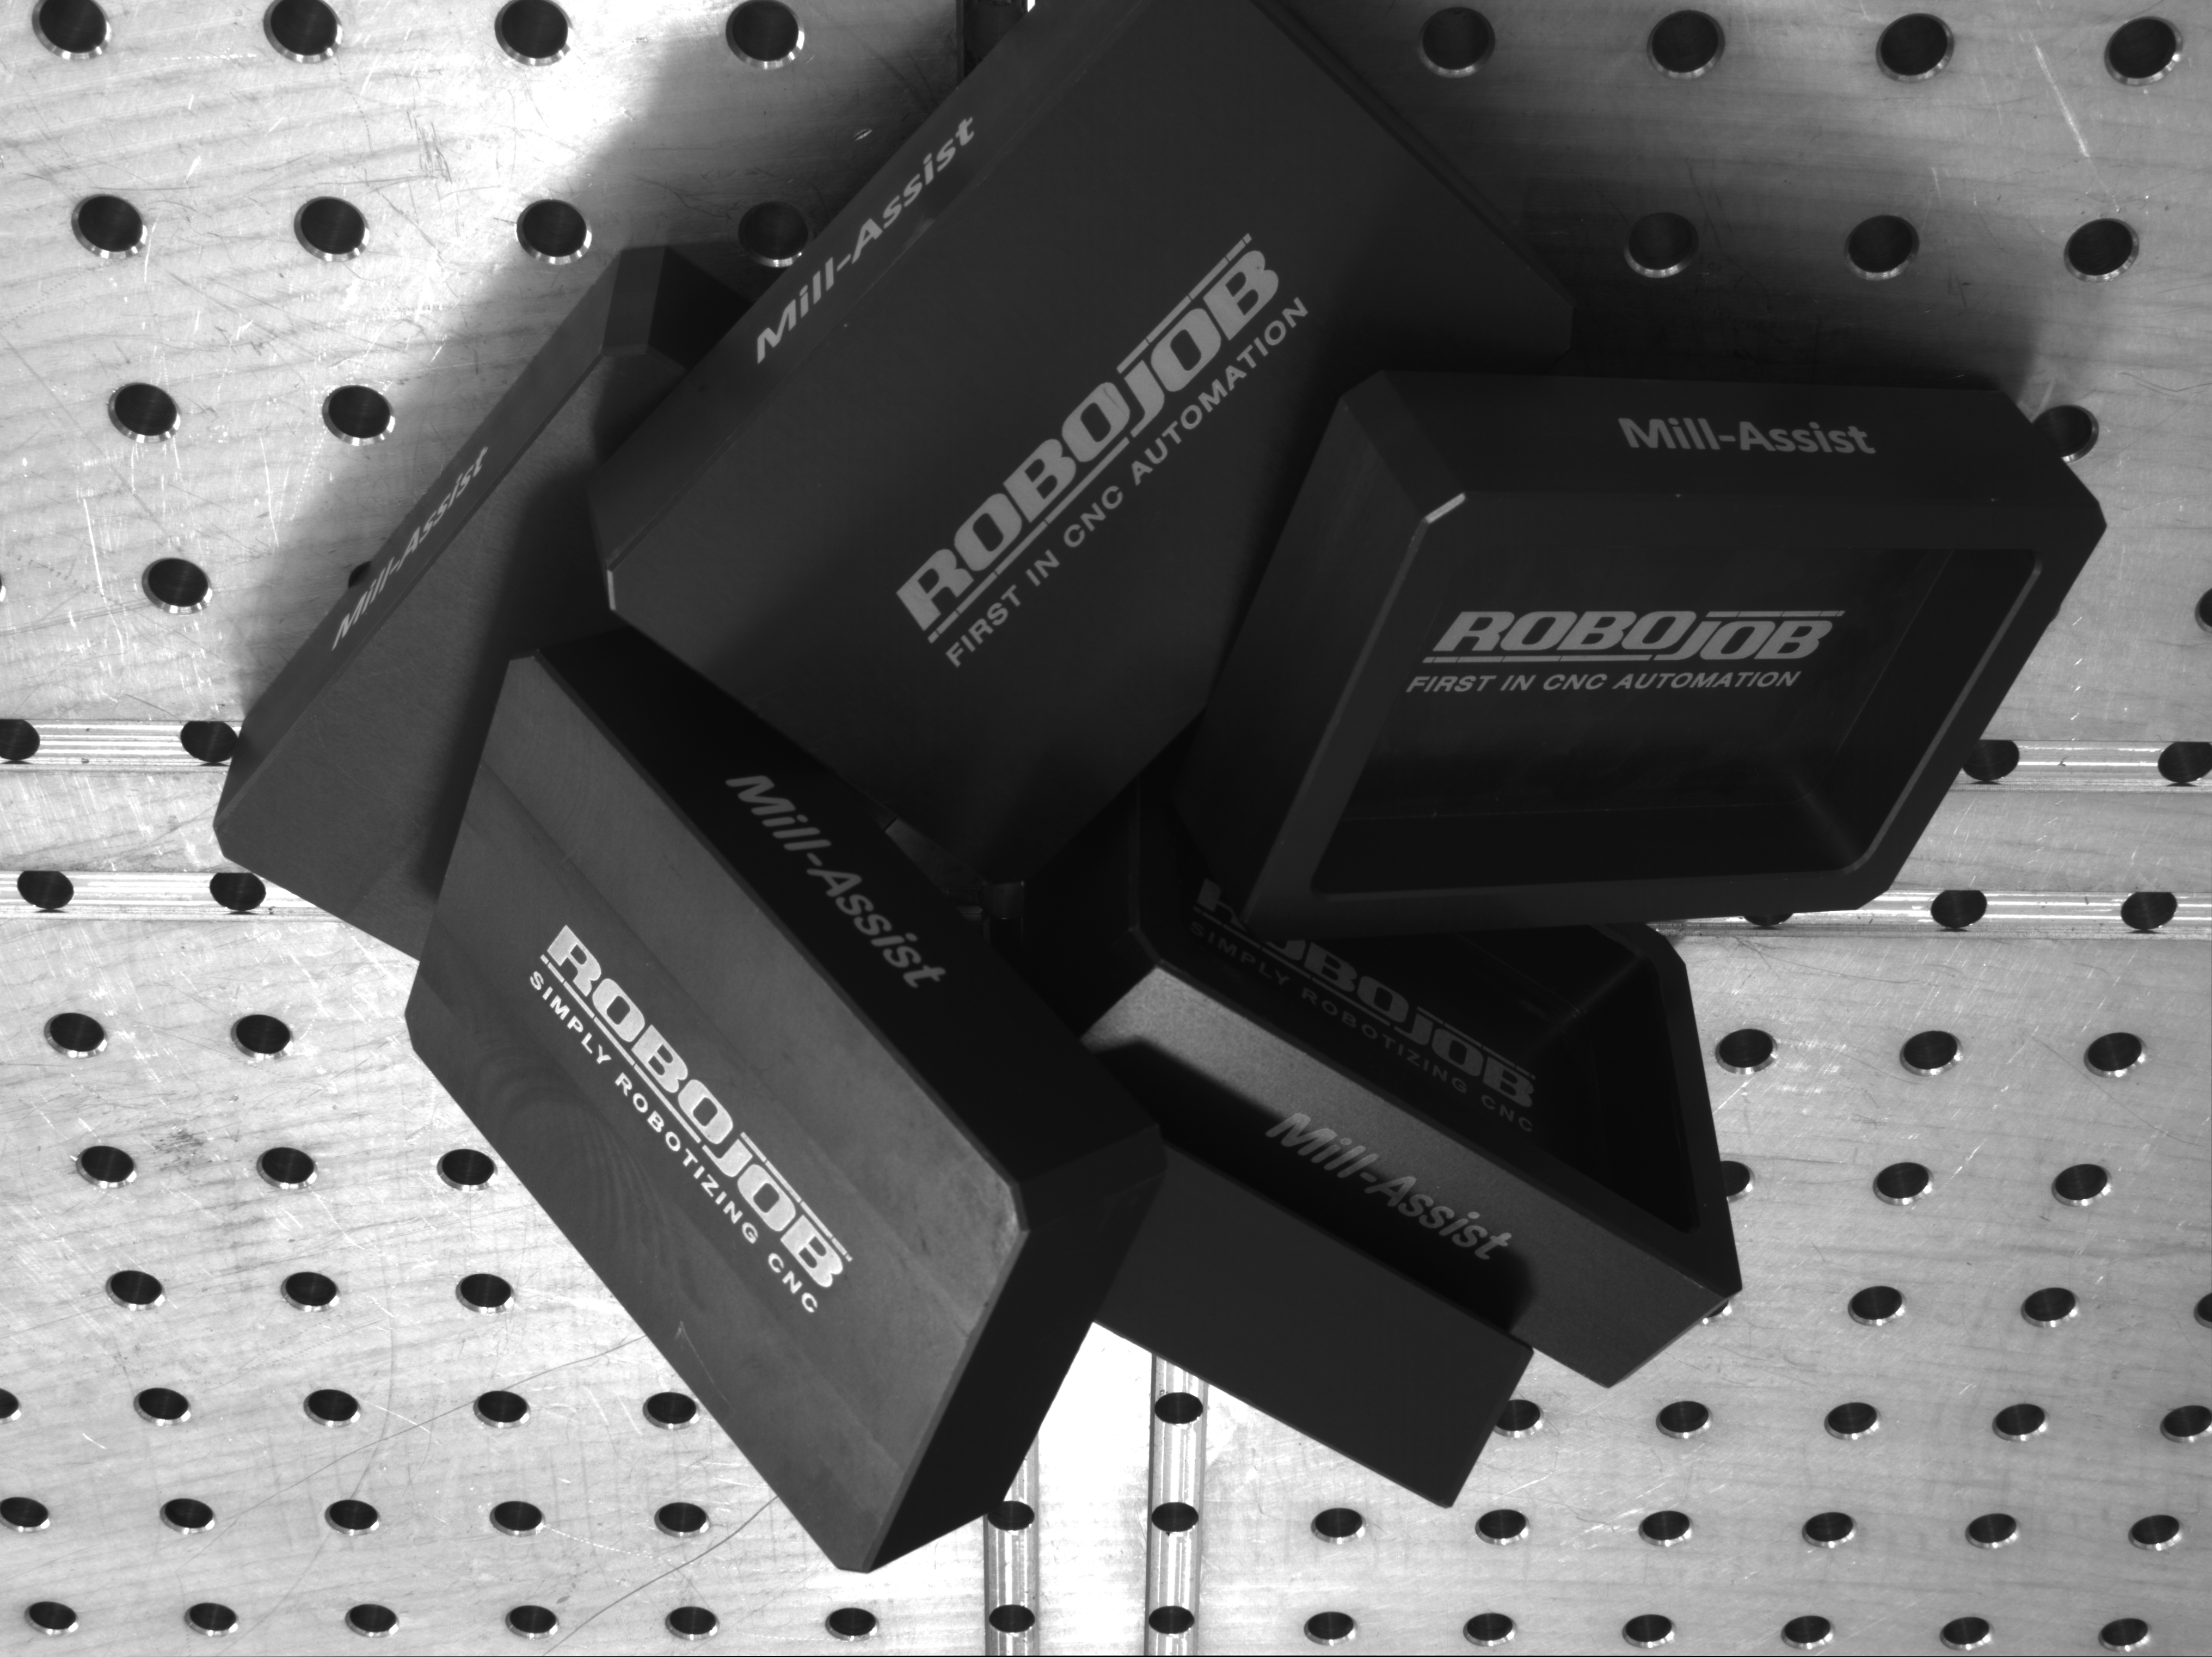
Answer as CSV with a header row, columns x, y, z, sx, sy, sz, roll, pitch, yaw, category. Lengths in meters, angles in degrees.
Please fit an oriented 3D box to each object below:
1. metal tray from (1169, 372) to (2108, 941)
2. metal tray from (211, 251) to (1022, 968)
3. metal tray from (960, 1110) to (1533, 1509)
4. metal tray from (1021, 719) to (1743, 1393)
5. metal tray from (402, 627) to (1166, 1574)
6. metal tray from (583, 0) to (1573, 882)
x,y,z,sx,sy,sz,roll,pitch,yaw,category
0.085,-0.026,0.586,0.130,0.030,0.090,-2,134,-28,metal tray
-0.079,-0.025,0.619,0.090,0.030,0.130,31,124,-24,metal tray
0.005,0.070,0.639,0.090,0.130,0.030,31,85,-23,metal tray
0.046,0.030,0.624,0.130,0.090,0.030,31,123,-24,metal tray
-0.055,0.041,0.578,0.030,0.130,0.090,-19,145,-42,metal tray
-0.005,-0.063,0.562,0.130,0.030,0.090,-44,122,14,metal tray
